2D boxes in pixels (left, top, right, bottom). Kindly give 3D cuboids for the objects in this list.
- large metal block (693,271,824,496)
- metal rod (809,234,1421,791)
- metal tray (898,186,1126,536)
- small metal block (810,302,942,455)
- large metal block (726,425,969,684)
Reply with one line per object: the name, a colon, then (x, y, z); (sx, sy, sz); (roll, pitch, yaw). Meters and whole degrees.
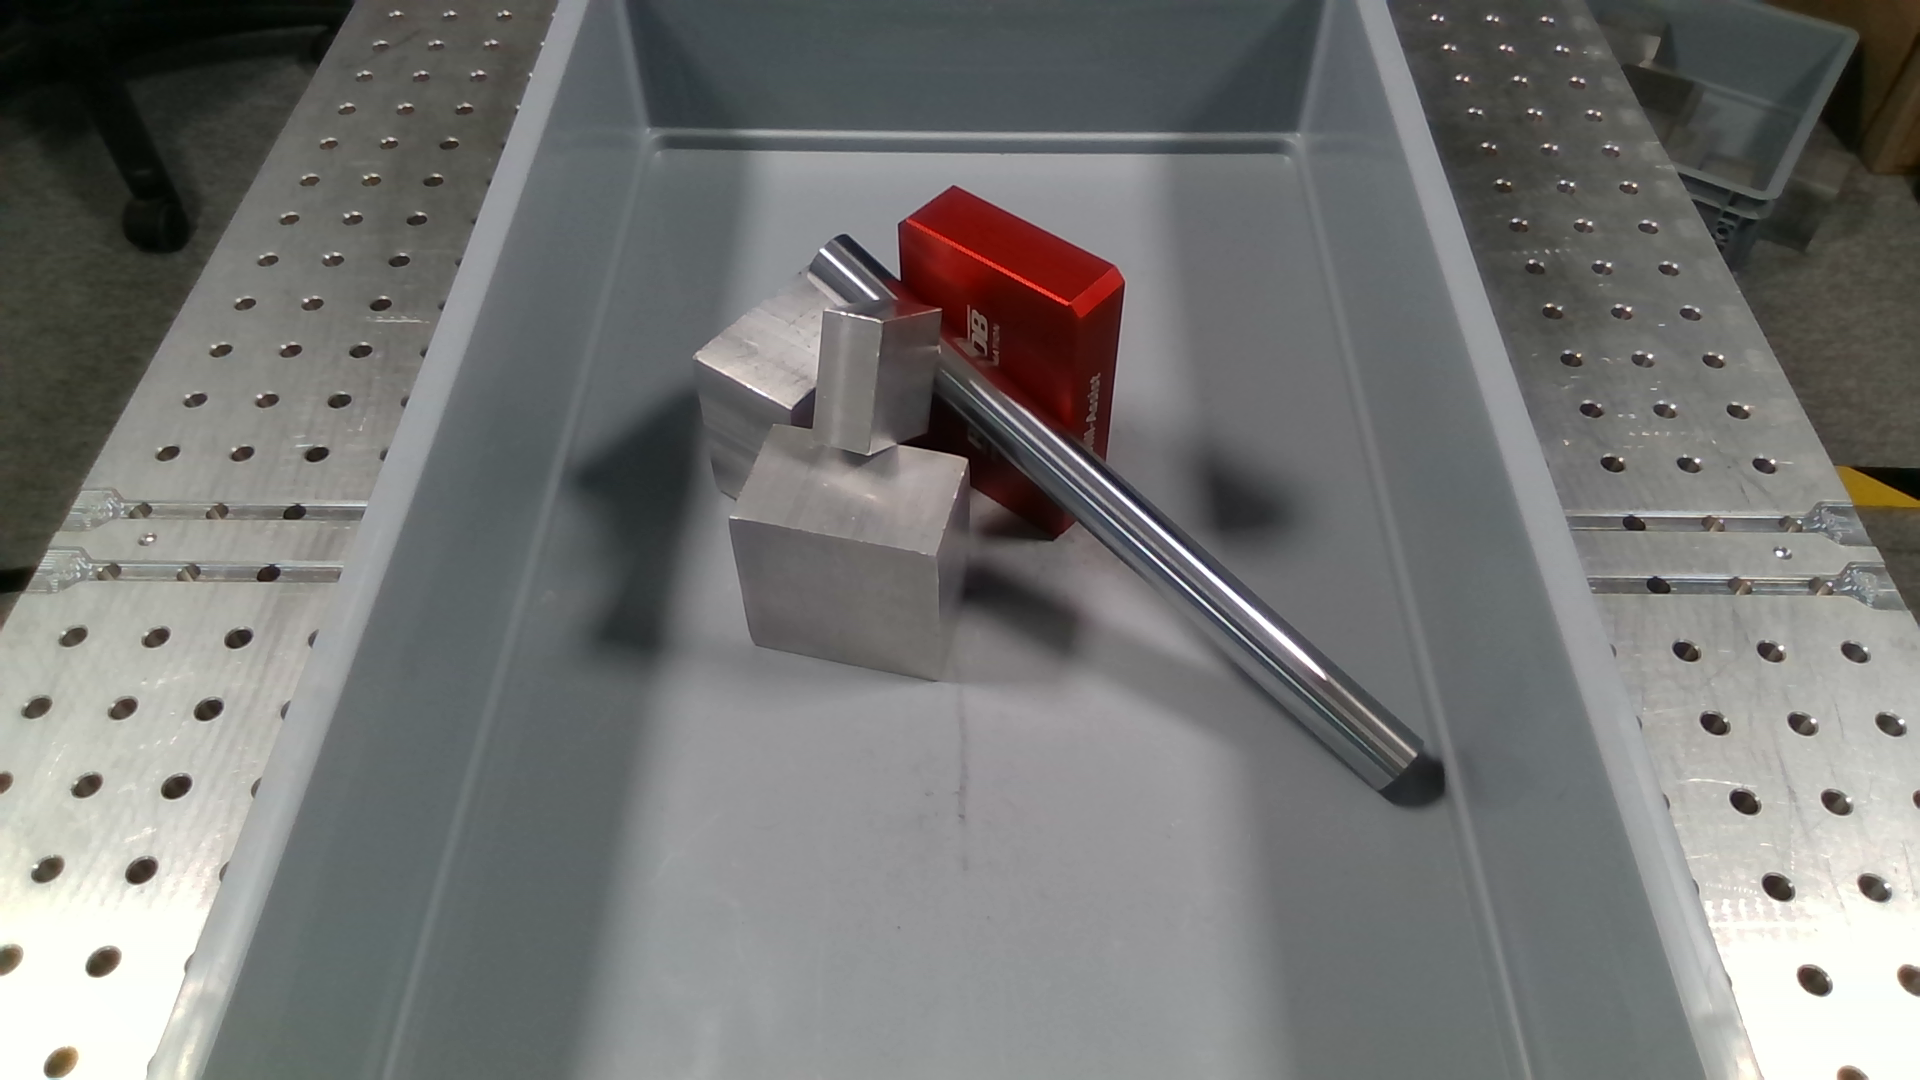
large metal block: (-0.065, -0.061, 0.602); (0.050, 0.080, 0.080); (30, 56, 22)
metal rod: (0.055, -0.016, 0.540); (0.300, 0.025, 0.025); (43, 61, 10)
metal tray: (0.019, -0.072, 0.577); (0.090, 0.130, 0.030); (32, 56, 25)
small metal block: (-0.031, -0.064, 0.526); (0.025, 0.050, 0.050); (15, 20, 22)
large metal block: (-0.041, 0.007, 0.546); (0.080, 0.080, 0.050); (10, 51, 9)
